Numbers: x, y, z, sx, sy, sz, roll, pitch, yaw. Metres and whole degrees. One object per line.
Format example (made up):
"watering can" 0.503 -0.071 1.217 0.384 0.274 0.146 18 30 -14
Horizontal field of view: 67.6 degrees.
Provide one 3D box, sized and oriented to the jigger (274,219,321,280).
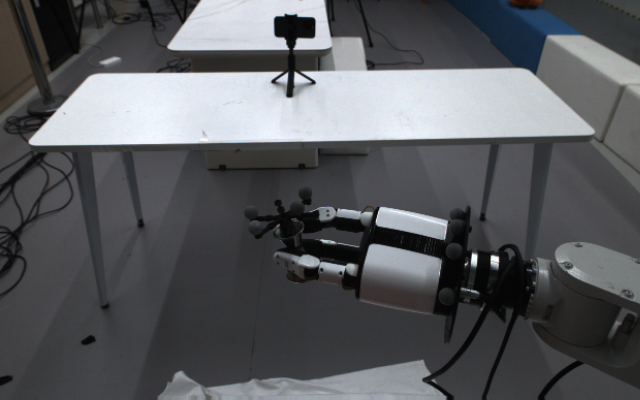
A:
"jigger" -0.029 0.063 0.599 0.043 0.071 0.043 -12 29 7
